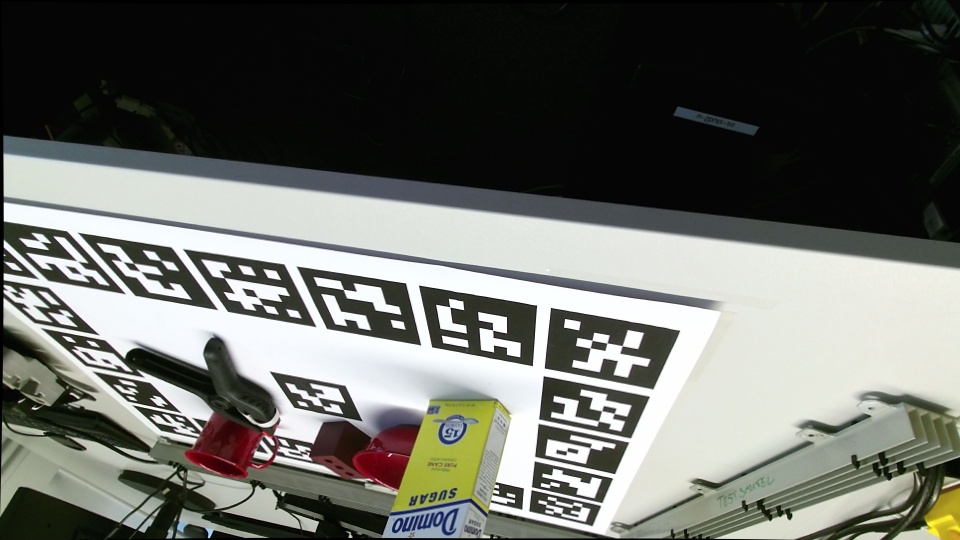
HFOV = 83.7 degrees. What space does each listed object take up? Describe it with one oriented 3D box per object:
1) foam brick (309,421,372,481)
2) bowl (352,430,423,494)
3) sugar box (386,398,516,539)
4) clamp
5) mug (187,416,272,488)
[{"bbox_3d":[-0.195,0.257,0.759,0.053,0.051,0.078,-13,129,28],"label":"foam brick"},{"bbox_3d":[-0.084,0.260,0.714,0.162,0.055,0.162,10,138,9],"label":"bowl"},{"bbox_3d":[-0.029,0.221,0.565,0.093,0.176,0.045,-10,129,29],"label":"sugar box"},{"bbox_3d":[-0.333,0.170,0.705,0.166,0.036,0.203,-10,130,25],"label":"clamp"},{"bbox_3d":[-0.366,0.266,0.791,0.117,0.081,0.093,28,137,-7],"label":"mug"}]
